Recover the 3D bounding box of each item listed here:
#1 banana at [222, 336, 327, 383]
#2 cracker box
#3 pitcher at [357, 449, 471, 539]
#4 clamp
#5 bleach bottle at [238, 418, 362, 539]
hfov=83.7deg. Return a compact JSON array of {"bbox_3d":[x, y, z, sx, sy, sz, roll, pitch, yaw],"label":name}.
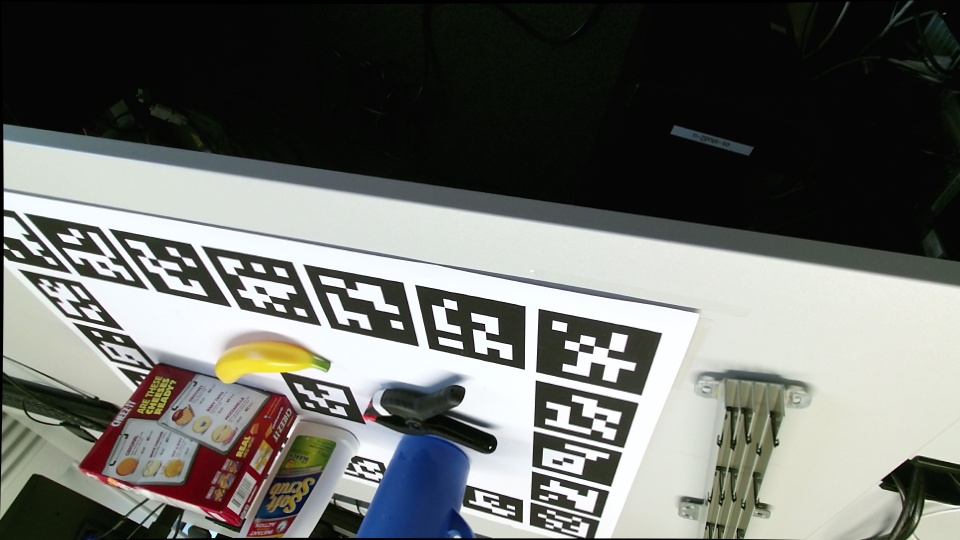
[{"bbox_3d":[-0.280,0.116,0.681,0.198,0.038,0.074,-16,128,36],"label":"banana"},{"bbox_3d":[-0.406,0.239,0.739,0.214,0.163,0.072,11,142,9],"label":"cracker box"},{"bbox_3d":[-0.088,0.357,0.665,0.189,0.241,0.133,-1,136,28],"label":"pitcher"},{"bbox_3d":[-0.069,0.178,0.649,0.165,0.036,0.122,0,137,25],"label":"clamp"},{"bbox_3d":[-0.262,0.337,0.745,0.103,0.250,0.068,10,140,12],"label":"bleach bottle"}]
